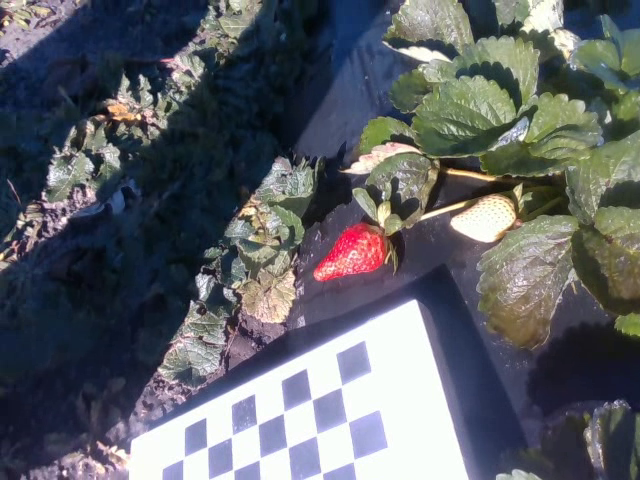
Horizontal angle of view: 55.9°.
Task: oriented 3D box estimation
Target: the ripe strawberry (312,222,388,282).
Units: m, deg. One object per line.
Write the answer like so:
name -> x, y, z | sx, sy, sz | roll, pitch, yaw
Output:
ripe strawberry -> 0.020, 0.011, 0.436 | 0.040, 0.069, 0.048 | 44, 9, -44
